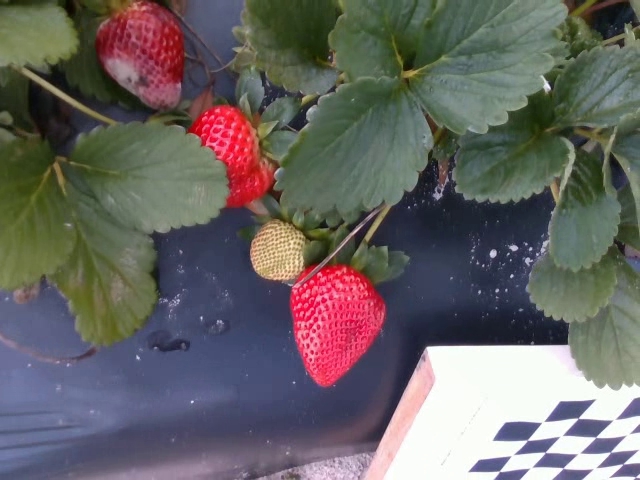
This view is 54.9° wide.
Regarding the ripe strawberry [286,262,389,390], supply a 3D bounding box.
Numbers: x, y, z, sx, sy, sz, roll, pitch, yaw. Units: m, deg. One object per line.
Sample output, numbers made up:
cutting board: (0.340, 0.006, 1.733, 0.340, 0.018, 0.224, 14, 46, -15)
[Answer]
ripe strawberry: (0.006, 0.046, 0.304, 0.057, 0.065, 0.056, -12, -39, 29)
